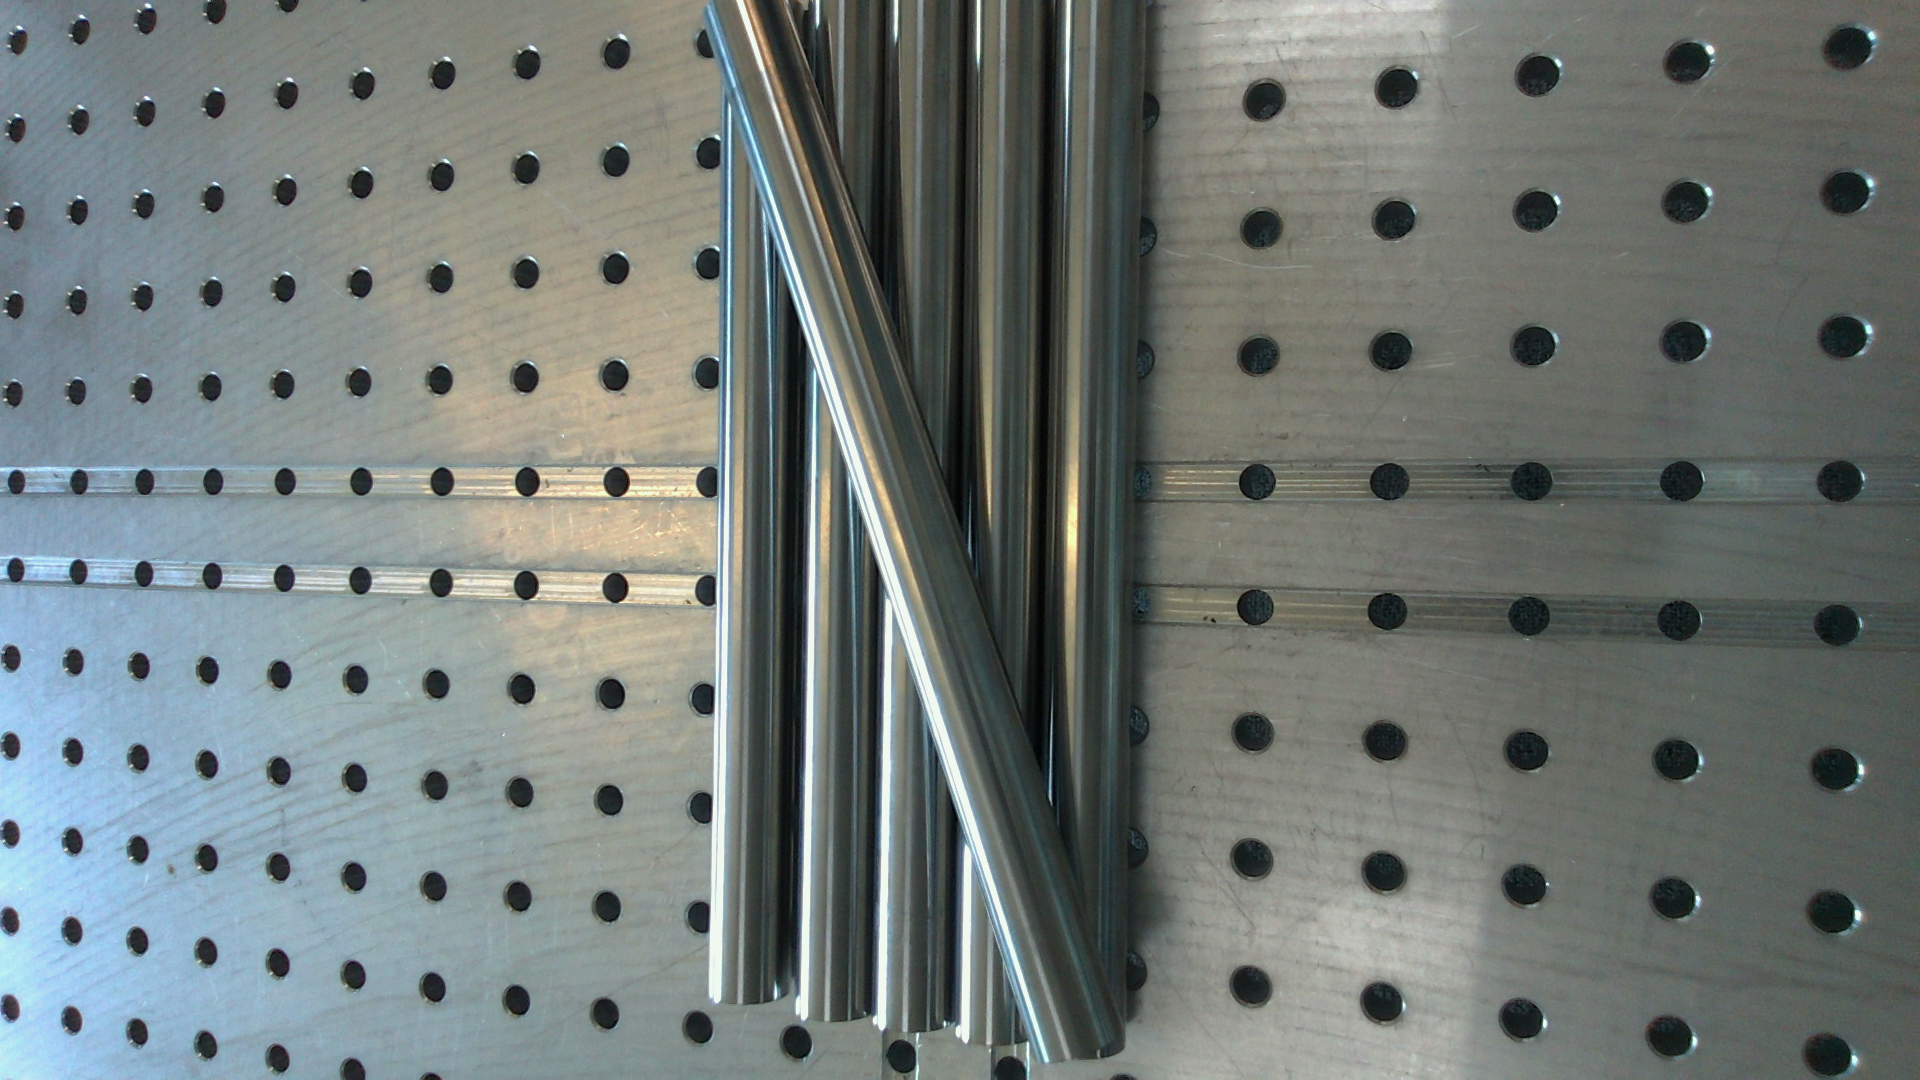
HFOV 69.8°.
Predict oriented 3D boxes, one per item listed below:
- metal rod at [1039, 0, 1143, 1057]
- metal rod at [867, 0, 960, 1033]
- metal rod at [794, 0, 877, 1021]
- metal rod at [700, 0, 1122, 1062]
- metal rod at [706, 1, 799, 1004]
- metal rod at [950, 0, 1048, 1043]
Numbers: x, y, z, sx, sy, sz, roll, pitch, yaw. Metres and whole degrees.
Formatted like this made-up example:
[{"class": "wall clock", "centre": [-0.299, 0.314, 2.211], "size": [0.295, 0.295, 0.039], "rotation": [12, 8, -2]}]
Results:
[{"class": "metal rod", "centre": [0.036, -0.009, 0.386], "size": [0.025, 0.025, 0.300], "rotation": [1, 91, 20]}, {"class": "metal rod", "centre": [-0.013, -0.010, 0.402], "size": [0.025, 0.025, 0.300], "rotation": [1, 90, 20]}, {"class": "metal rod", "centre": [-0.036, -0.011, 0.410], "size": [0.025, 0.025, 0.300], "rotation": [1, 90, 20]}, {"class": "metal rod", "centre": [-0.016, -0.010, 0.377], "size": [0.025, 0.025, 0.300], "rotation": [-20, 83, 19]}, {"class": "metal rod", "centre": [-0.063, -0.012, 0.420], "size": [0.025, 0.025, 0.300], "rotation": [1, 90, 20]}, {"class": "metal rod", "centre": [0.012, -0.010, 0.395], "size": [0.025, 0.025, 0.300], "rotation": [1, 90, 20]}]
